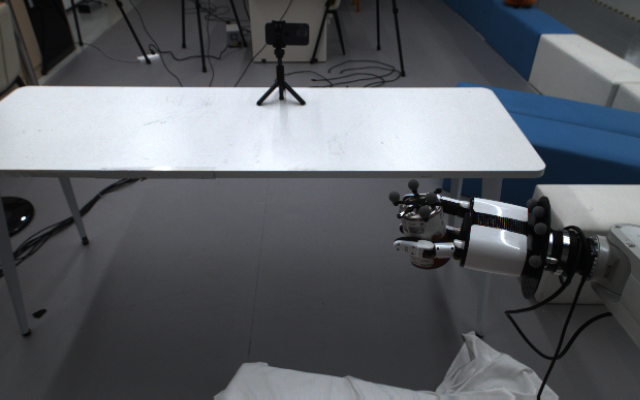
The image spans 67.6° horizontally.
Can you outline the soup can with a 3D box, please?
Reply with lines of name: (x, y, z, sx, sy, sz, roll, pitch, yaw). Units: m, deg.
soup can: (0.169, 0.050, 0.771, 0.067, 0.101, 0.067, -13, 31, 8)
